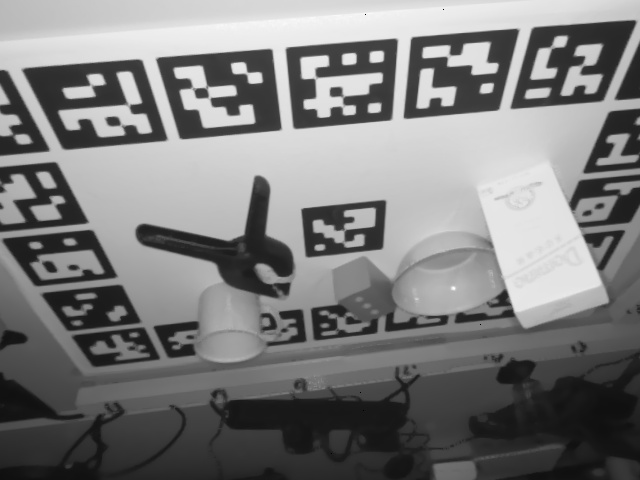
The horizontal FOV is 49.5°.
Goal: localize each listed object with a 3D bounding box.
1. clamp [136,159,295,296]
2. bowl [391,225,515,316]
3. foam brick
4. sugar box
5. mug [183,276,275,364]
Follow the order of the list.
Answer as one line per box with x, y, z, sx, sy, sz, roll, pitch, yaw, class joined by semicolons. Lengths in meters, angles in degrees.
-0.090;0.004;0.816;0.164;0.037;0.203;-23;136;14;clamp
0.167;0.030;0.882;0.162;0.055;0.160;-4;139;-3;bowl
0.052;0.053;0.902;0.052;0.051;0.078;-25;135;18;foam brick
0.239;-0.017;0.747;0.092;0.177;0.045;-21;135;18;sugar box
-0.114;0.104;0.898;0.118;0.082;0.092;14;135;-19;mug
